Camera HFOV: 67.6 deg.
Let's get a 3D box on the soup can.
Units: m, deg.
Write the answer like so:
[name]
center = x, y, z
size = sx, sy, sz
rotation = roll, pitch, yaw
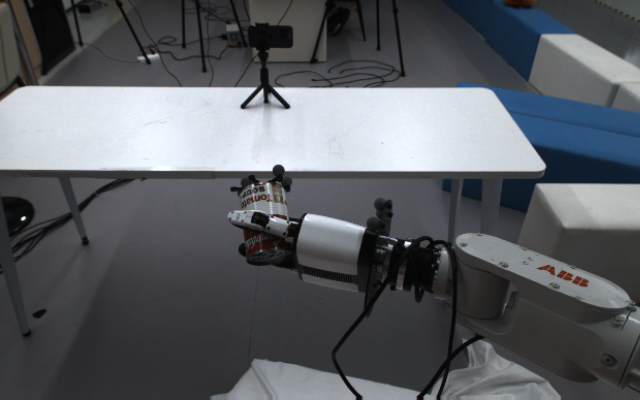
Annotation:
[soup can]
center = -0.074, 0.035, 0.682
size = 0.067, 0.067, 0.101
rotation = -6, 67, -12
